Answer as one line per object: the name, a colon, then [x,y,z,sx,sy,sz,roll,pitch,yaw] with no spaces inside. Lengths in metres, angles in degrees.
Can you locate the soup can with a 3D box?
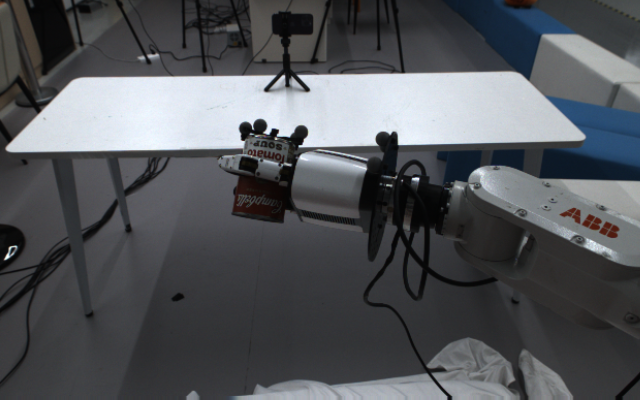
soup can: [-0.071,-0.025,0.618,0.067,0.101,0.067,9,-6,1]
